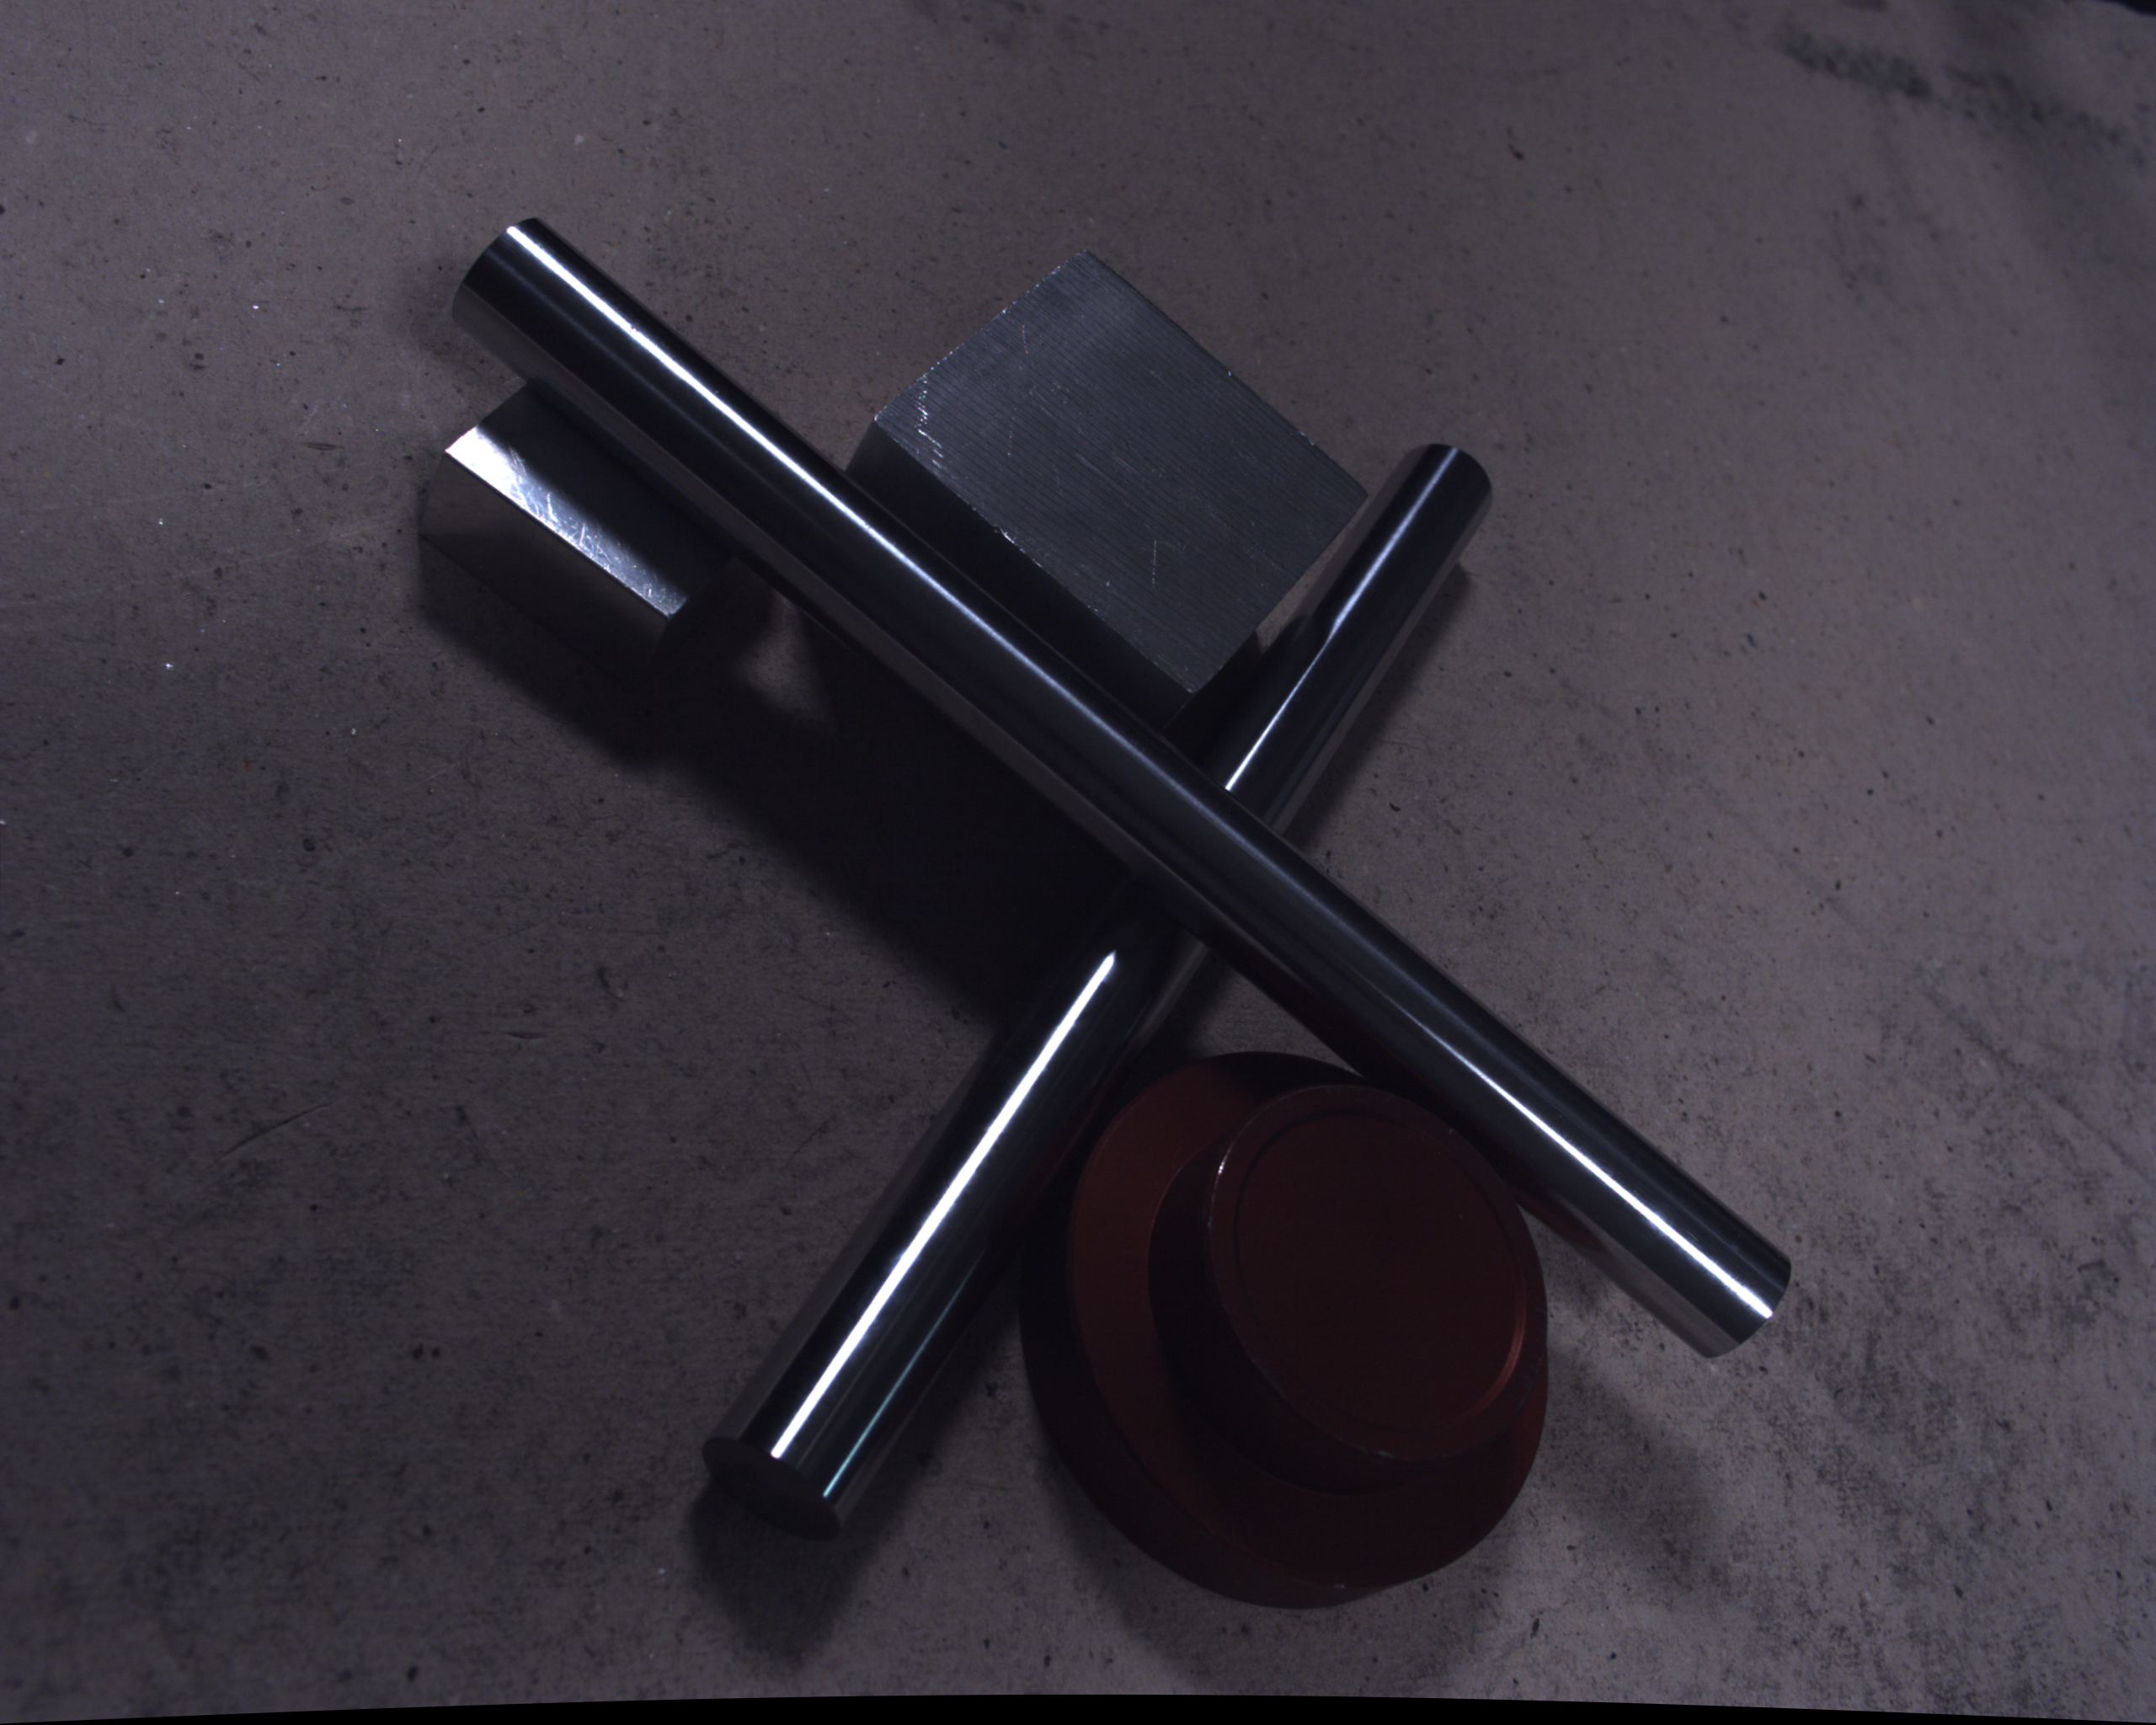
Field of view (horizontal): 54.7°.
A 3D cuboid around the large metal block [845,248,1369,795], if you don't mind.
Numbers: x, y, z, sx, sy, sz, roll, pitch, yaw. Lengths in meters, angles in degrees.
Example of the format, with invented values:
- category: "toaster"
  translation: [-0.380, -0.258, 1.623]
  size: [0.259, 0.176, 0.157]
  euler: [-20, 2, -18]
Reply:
- category: "large metal block"
  translation: [0.000, -0.068, 0.434]
  size: [0.080, 0.050, 0.080]
  euler: [41, 51, -1]

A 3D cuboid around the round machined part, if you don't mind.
- category: "round machined part"
  translation: [0.043, 0.078, 0.371]
  size: [0.099, 0.042, 0.098]
  euler: [14, 56, -21]

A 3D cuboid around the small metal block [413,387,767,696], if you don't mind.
- category: "small metal block"
  translation: [-0.089, -0.069, 0.401]
  size: [0.050, 0.025, 0.050]
  euler: [37, 51, -4]

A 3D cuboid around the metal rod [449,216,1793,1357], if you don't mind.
- category: "metal rod"
  translation: [0.009, -0.013, 0.387]
  size: [0.300, 0.025, 0.025]
  euler: [40, 51, -2]

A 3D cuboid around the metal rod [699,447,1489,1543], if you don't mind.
- category: "metal rod"
  translation: [0.021, 0.003, 0.418]
  size: [0.025, 0.025, 0.301]
  euler: [38, 51, -3]
